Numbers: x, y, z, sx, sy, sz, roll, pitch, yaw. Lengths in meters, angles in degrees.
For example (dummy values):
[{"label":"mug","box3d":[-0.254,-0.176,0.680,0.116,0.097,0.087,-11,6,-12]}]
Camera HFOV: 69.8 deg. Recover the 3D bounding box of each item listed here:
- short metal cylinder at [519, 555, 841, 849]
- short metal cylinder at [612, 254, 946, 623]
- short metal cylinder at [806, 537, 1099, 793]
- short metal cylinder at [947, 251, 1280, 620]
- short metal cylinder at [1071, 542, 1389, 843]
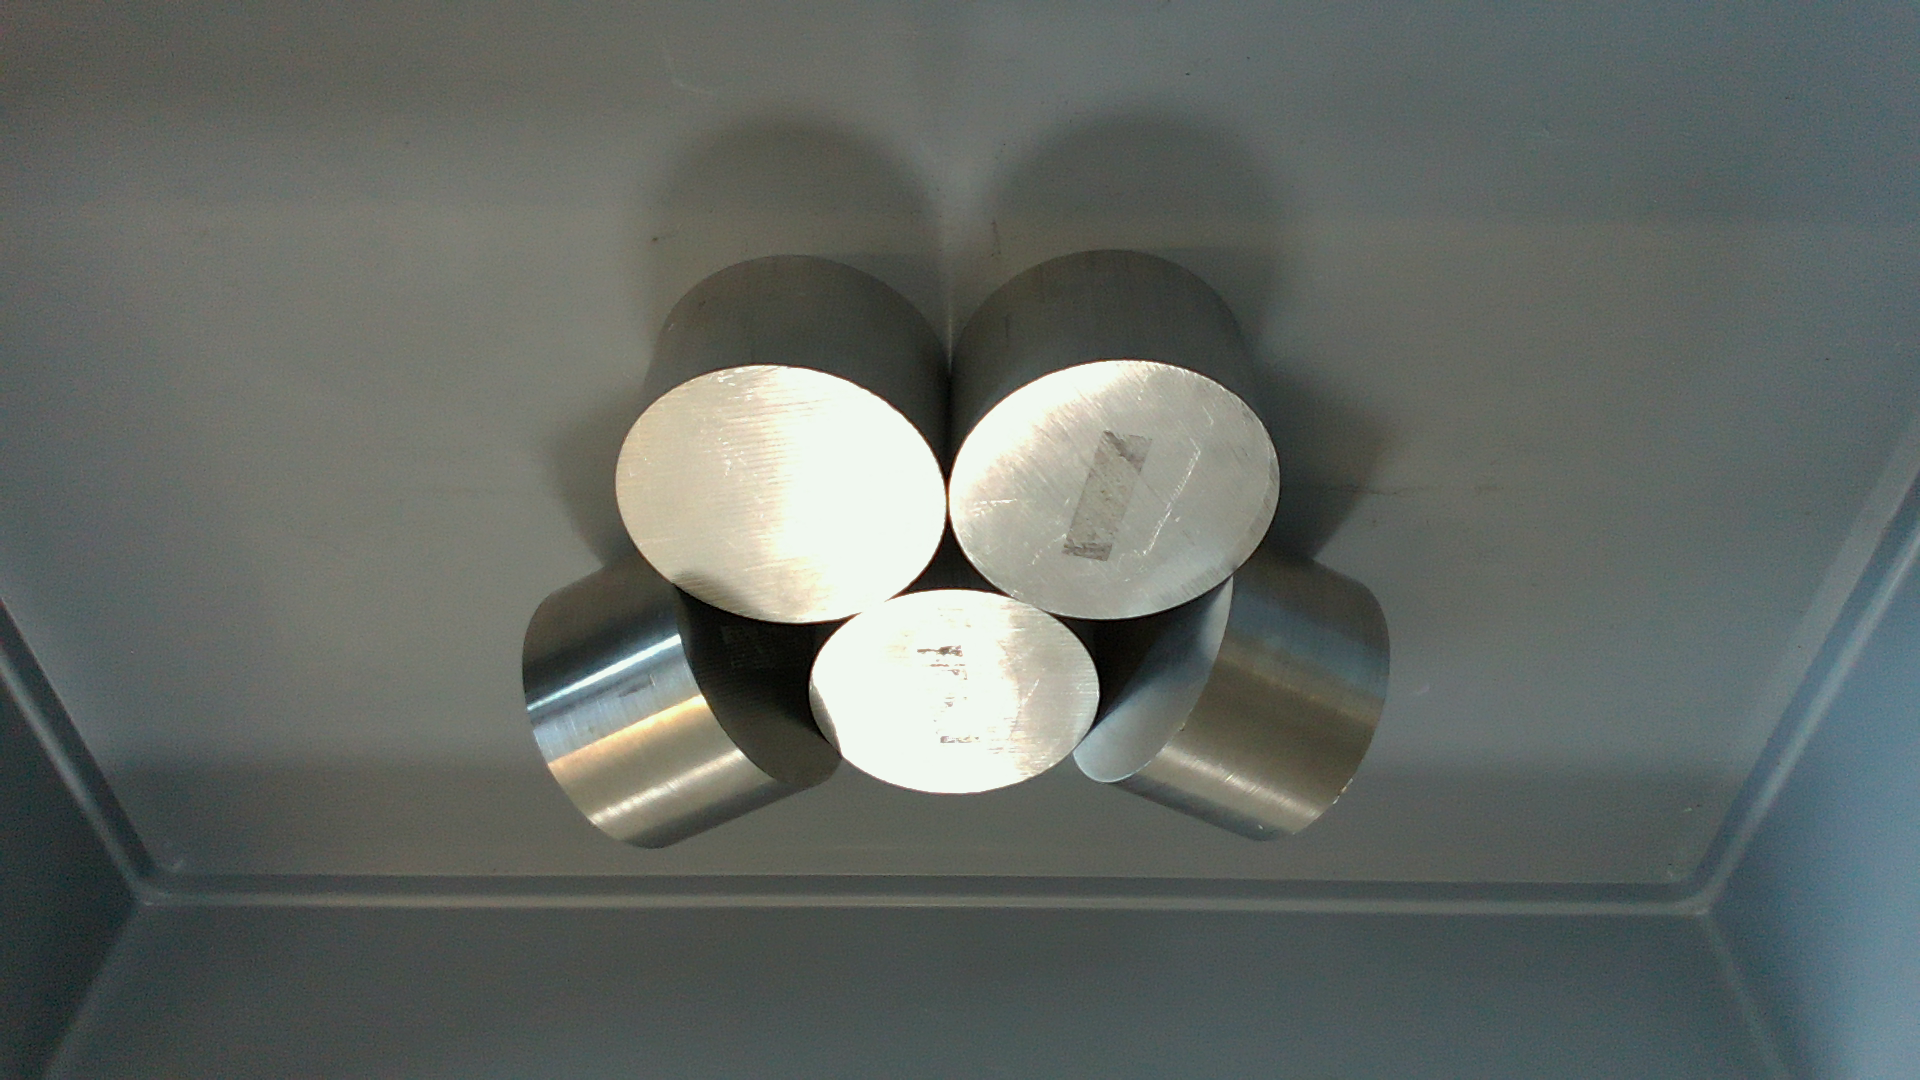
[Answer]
[{"label":"short metal cylinder","box3d":[-0.076,0.040,0.387,0.050,0.080,0.080,-24,126,19]},{"label":"short metal cylinder","box3d":[-0.043,-0.025,0.351,0.080,0.050,0.080,0,130,0]},{"label":"short metal cylinder","box3d":[-0.002,0.027,0.396,0.080,0.050,0.080,0,130,0]},{"label":"short metal cylinder","box3d":[0.037,-0.026,0.351,0.080,0.050,0.080,0,130,0]},{"label":"short metal cylinder","box3d":[0.073,0.038,0.385,0.050,0.080,0.080,23,126,-18]}]
